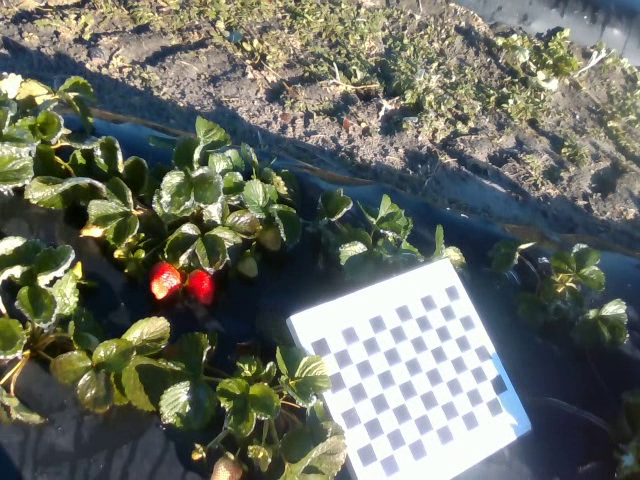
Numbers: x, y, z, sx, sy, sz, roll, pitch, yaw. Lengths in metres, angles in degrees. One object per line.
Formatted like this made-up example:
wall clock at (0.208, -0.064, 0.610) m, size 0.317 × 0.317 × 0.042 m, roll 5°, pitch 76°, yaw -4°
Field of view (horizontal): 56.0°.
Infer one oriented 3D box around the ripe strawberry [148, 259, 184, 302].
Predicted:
ripe strawberry at (-0.233, 0.065, 0.893) m, size 0.052 × 0.070 × 0.040 m, roll 32°, pitch -37°, yaw -15°

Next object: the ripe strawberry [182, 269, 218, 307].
ripe strawberry at (-0.180, 0.069, 0.902) m, size 0.043 × 0.059 × 0.040 m, roll -18°, pitch -18°, yaw -27°
